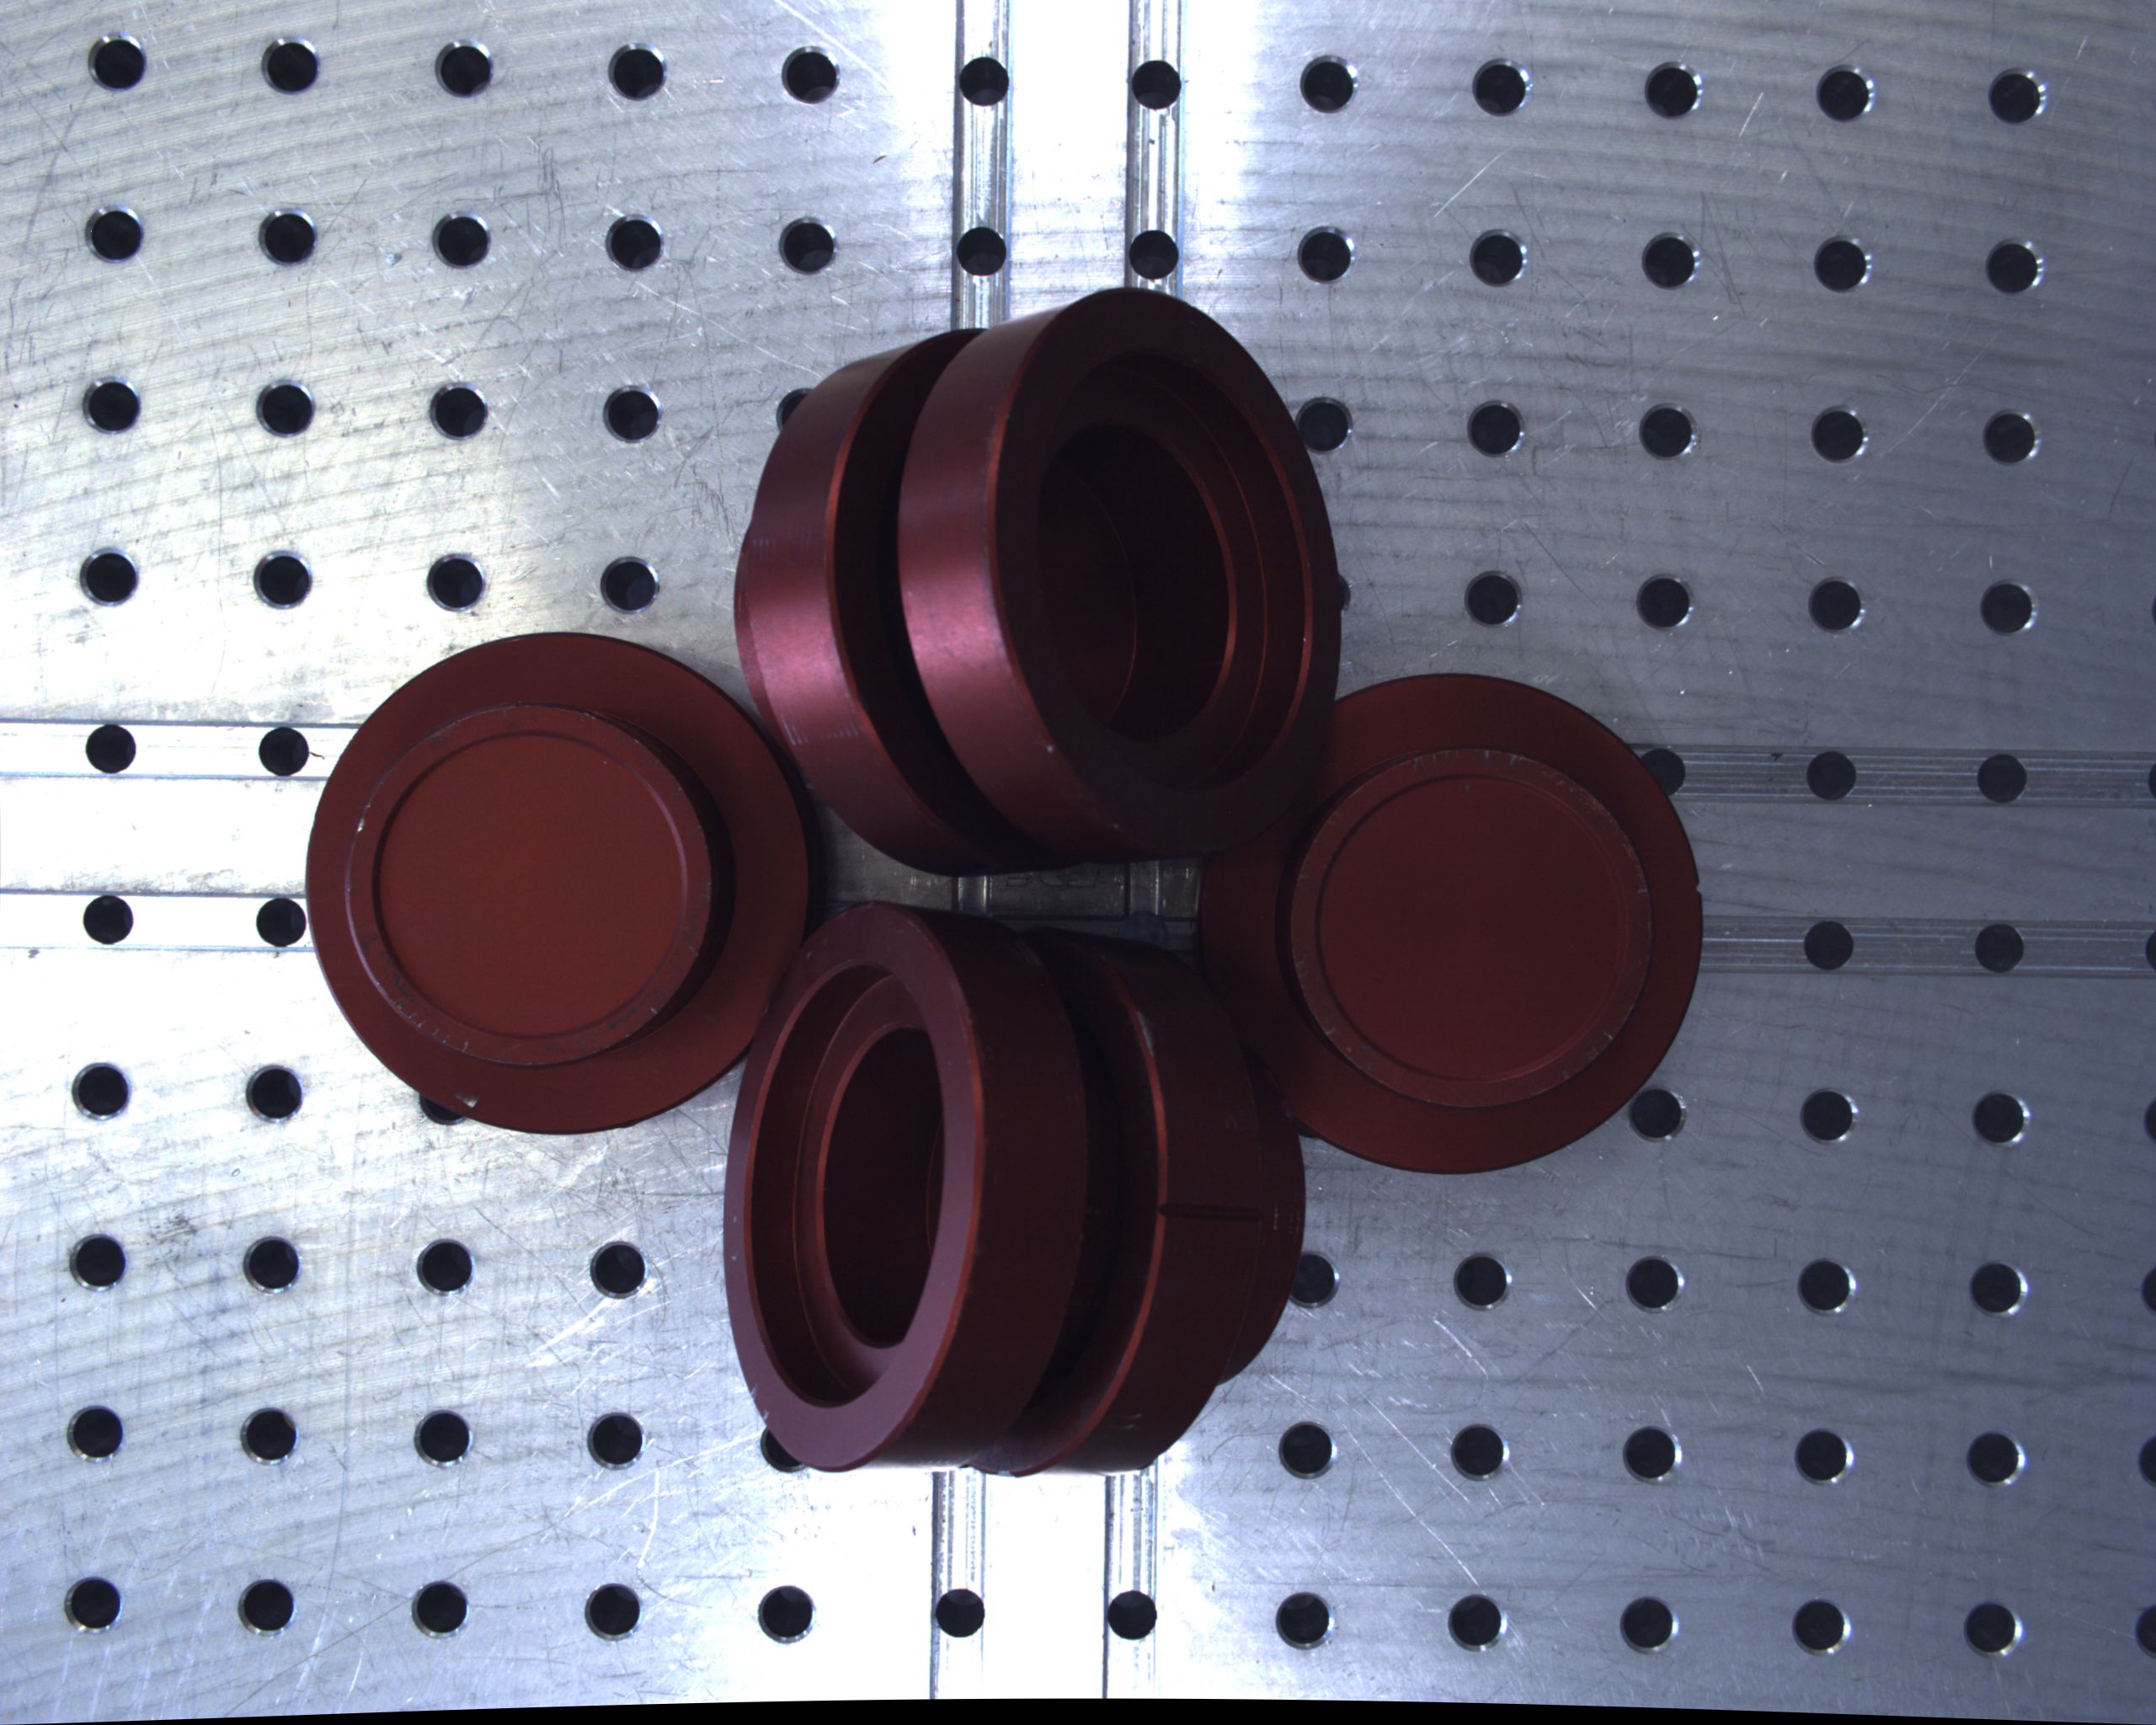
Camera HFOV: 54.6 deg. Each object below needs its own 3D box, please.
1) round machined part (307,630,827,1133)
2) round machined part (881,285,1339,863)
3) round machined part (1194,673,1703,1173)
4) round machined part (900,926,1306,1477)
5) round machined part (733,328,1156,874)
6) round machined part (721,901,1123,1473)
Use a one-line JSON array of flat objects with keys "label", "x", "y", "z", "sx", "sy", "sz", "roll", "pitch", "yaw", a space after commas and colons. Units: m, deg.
[{"label": "round machined part", "x": -0.100, "y": 0.004, "z": 0.404, "sx": 0.099, "sy": 0.042, "sz": 0.097, "roll": 0, "pitch": 90, "yaw": 0}, {"label": "round machined part", "x": 0.002, "y": -0.048, "z": 0.370, "sx": 0.042, "sy": 0.099, "sz": 0.097, "roll": -6, "pitch": 90, "yaw": 40}, {"label": "round machined part", "x": 0.073, "y": 0.012, "z": 0.405, "sx": 0.099, "sy": 0.042, "sz": 0.097, "roll": 0, "pitch": 90, "yaw": 0}, {"label": "round machined part", "x": 0.005, "y": 0.063, "z": 0.386, "sx": 0.042, "sy": 0.098, "sz": 0.098, "roll": 10, "pitch": 90, "yaw": -32}, {"label": "round machined part", "x": -0.025, "y": -0.046, "z": 0.388, "sx": 0.042, "sy": 0.099, "sz": 0.097, "roll": -6, "pitch": 90, "yaw": 40}, {"label": "round machined part", "x": -0.024, "y": 0.058, "z": 0.372, "sx": 0.042, "sy": 0.098, "sz": 0.098, "roll": 10, "pitch": 90, "yaw": -32}]
